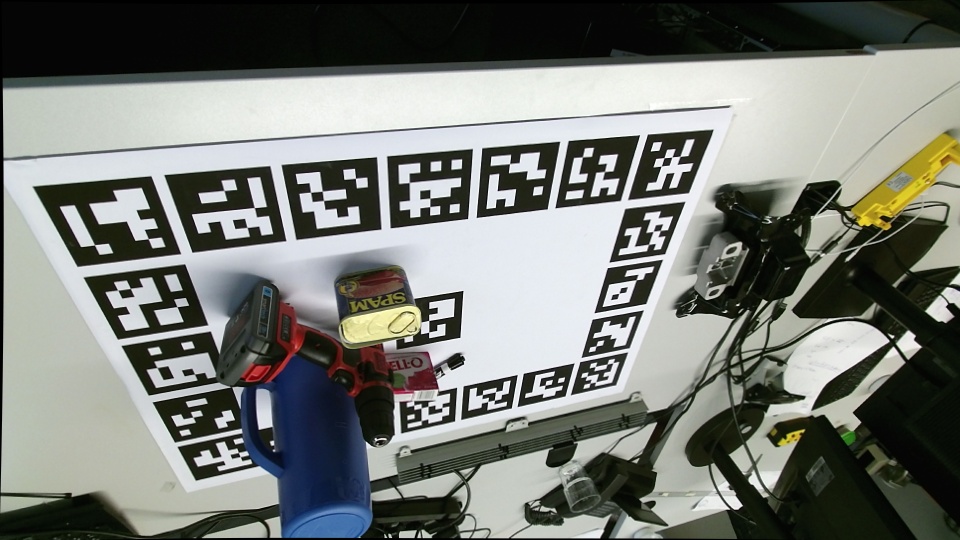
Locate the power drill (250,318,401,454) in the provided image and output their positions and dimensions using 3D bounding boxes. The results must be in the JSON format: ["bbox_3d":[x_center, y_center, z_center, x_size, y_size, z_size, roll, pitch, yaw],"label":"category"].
[{"bbox_3d":[-0.189,0.143,0.685,0.188,0.184,0.057,25,111,-29],"label":"power drill"}]

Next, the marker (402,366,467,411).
[{"bbox_3d":[-0.076,0.193,0.877,0.121,0.019,0.020,-30,132,2],"label":"marker"}]

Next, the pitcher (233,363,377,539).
[{"bbox_3d":[-0.232,0.245,0.719,0.189,0.241,0.133,17,116,-40],"label":"pitcher"}]

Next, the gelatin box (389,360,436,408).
[{"bbox_3d":[-0.118,0.173,0.812,0.090,0.073,0.030,0,123,-21],"label":"gelatin box"}]

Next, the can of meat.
[{"bbox_3d":[-0.136,0.054,0.697,0.102,0.083,0.058,-10,132,-14],"label":"can of meat"}]
